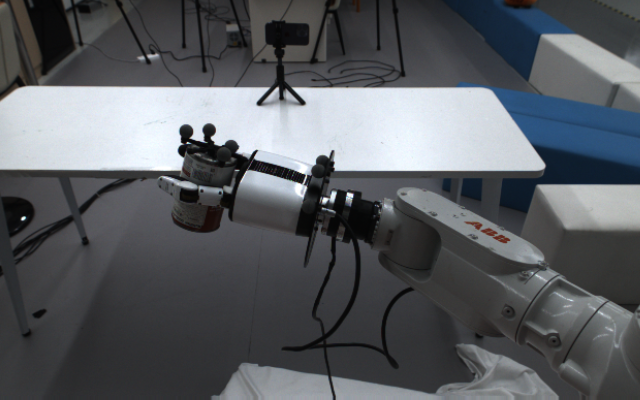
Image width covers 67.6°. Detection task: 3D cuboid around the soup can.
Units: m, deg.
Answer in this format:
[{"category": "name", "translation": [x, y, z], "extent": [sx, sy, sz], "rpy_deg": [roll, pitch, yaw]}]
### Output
[{"category": "soup can", "translation": [-0.153, -0.015, 0.641], "extent": [0.067, 0.101, 0.067], "rpy_deg": [17, 22, -7]}]
